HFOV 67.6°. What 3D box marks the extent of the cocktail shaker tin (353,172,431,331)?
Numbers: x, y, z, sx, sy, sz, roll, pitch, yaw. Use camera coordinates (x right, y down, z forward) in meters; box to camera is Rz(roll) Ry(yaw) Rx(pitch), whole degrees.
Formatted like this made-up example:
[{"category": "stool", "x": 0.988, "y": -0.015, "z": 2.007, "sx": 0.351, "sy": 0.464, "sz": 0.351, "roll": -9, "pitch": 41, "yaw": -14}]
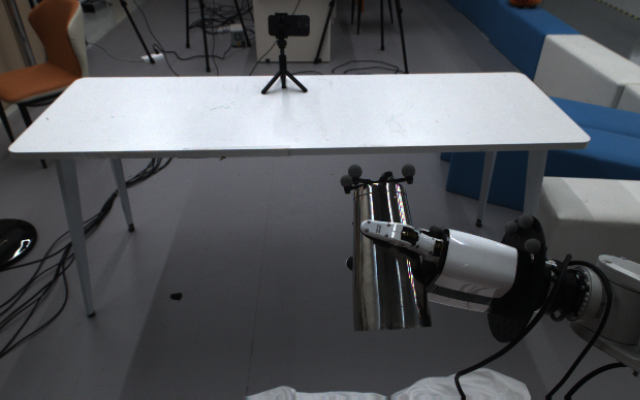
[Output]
[{"category": "cocktail shaker tin", "x": 0.082, "y": 0.070, "z": 0.592, "sx": 0.093, "sy": 0.093, "sz": 0.170, "roll": -3, "pitch": 76, "yaw": -8}]
